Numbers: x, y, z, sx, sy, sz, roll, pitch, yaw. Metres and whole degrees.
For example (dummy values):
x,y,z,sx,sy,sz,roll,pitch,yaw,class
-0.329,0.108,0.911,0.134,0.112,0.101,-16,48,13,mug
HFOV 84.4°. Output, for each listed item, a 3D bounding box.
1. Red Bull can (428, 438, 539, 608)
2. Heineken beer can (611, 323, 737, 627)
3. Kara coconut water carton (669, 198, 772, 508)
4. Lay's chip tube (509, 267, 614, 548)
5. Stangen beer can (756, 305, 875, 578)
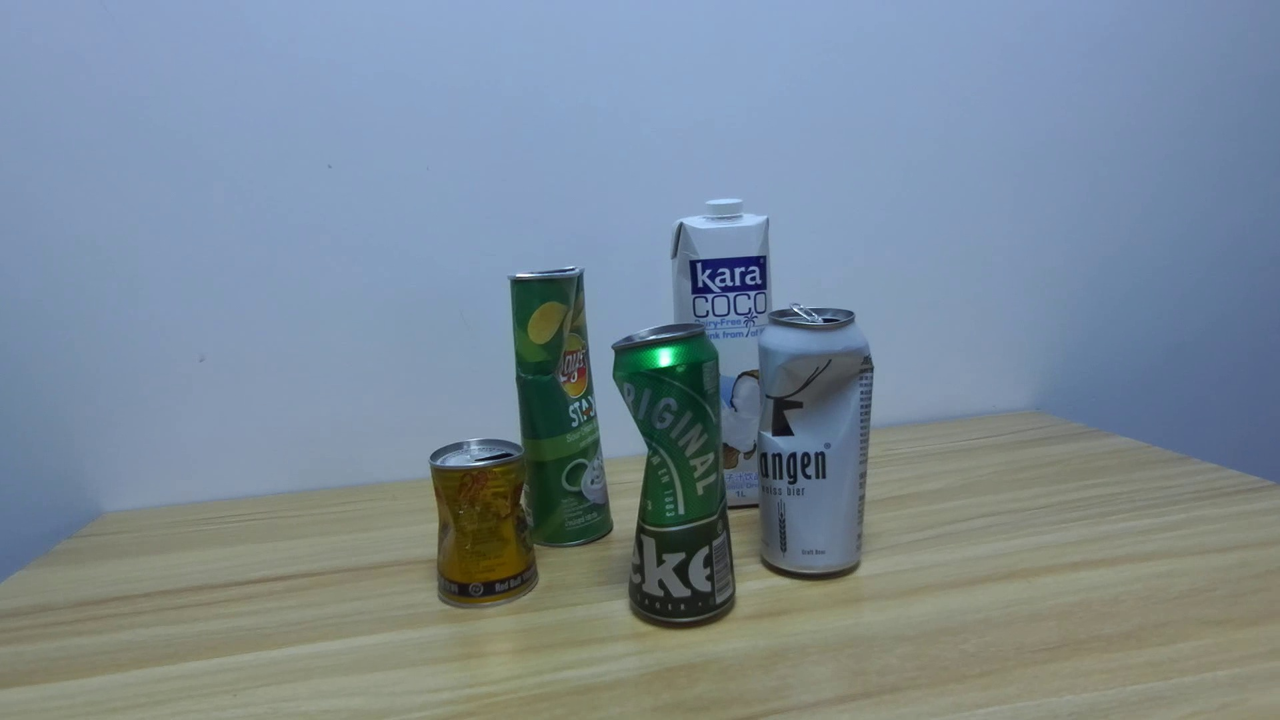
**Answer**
x,y,z,sx,sy,sz,roll,pitch,yaw,class
-0.101,0.103,0.456,0.072,0.092,0.072,-2,9,1,Red Bull can
0.019,0.066,0.414,0.069,0.168,0.069,-12,10,-36,Heineken beer can
0.071,-0.010,0.586,0.077,0.245,0.075,-4,15,2,Kara coconut water carton
-0.061,0.034,0.533,0.069,0.199,0.074,-7,10,-18,Lay's chip tube
0.110,0.052,0.455,0.070,0.173,0.070,8,14,43,Stangen beer can
